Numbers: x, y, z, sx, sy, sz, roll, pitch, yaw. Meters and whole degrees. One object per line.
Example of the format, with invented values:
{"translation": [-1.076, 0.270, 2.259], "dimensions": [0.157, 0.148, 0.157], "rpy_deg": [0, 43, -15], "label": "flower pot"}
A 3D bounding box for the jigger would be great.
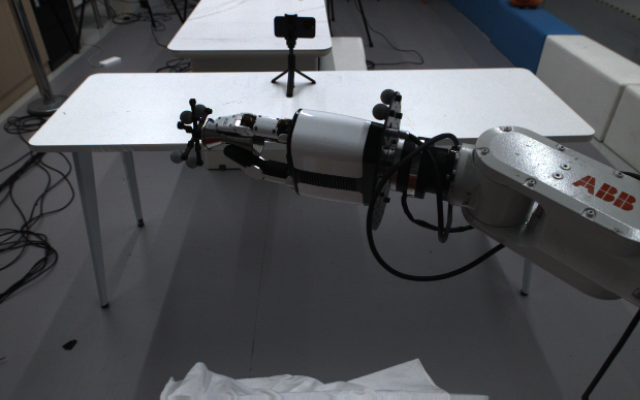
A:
{"translation": [-0.102, -0.083, 0.604], "dimensions": [0.071, 0.043, 0.043], "rpy_deg": [6, 35, 13], "label": "jigger"}
